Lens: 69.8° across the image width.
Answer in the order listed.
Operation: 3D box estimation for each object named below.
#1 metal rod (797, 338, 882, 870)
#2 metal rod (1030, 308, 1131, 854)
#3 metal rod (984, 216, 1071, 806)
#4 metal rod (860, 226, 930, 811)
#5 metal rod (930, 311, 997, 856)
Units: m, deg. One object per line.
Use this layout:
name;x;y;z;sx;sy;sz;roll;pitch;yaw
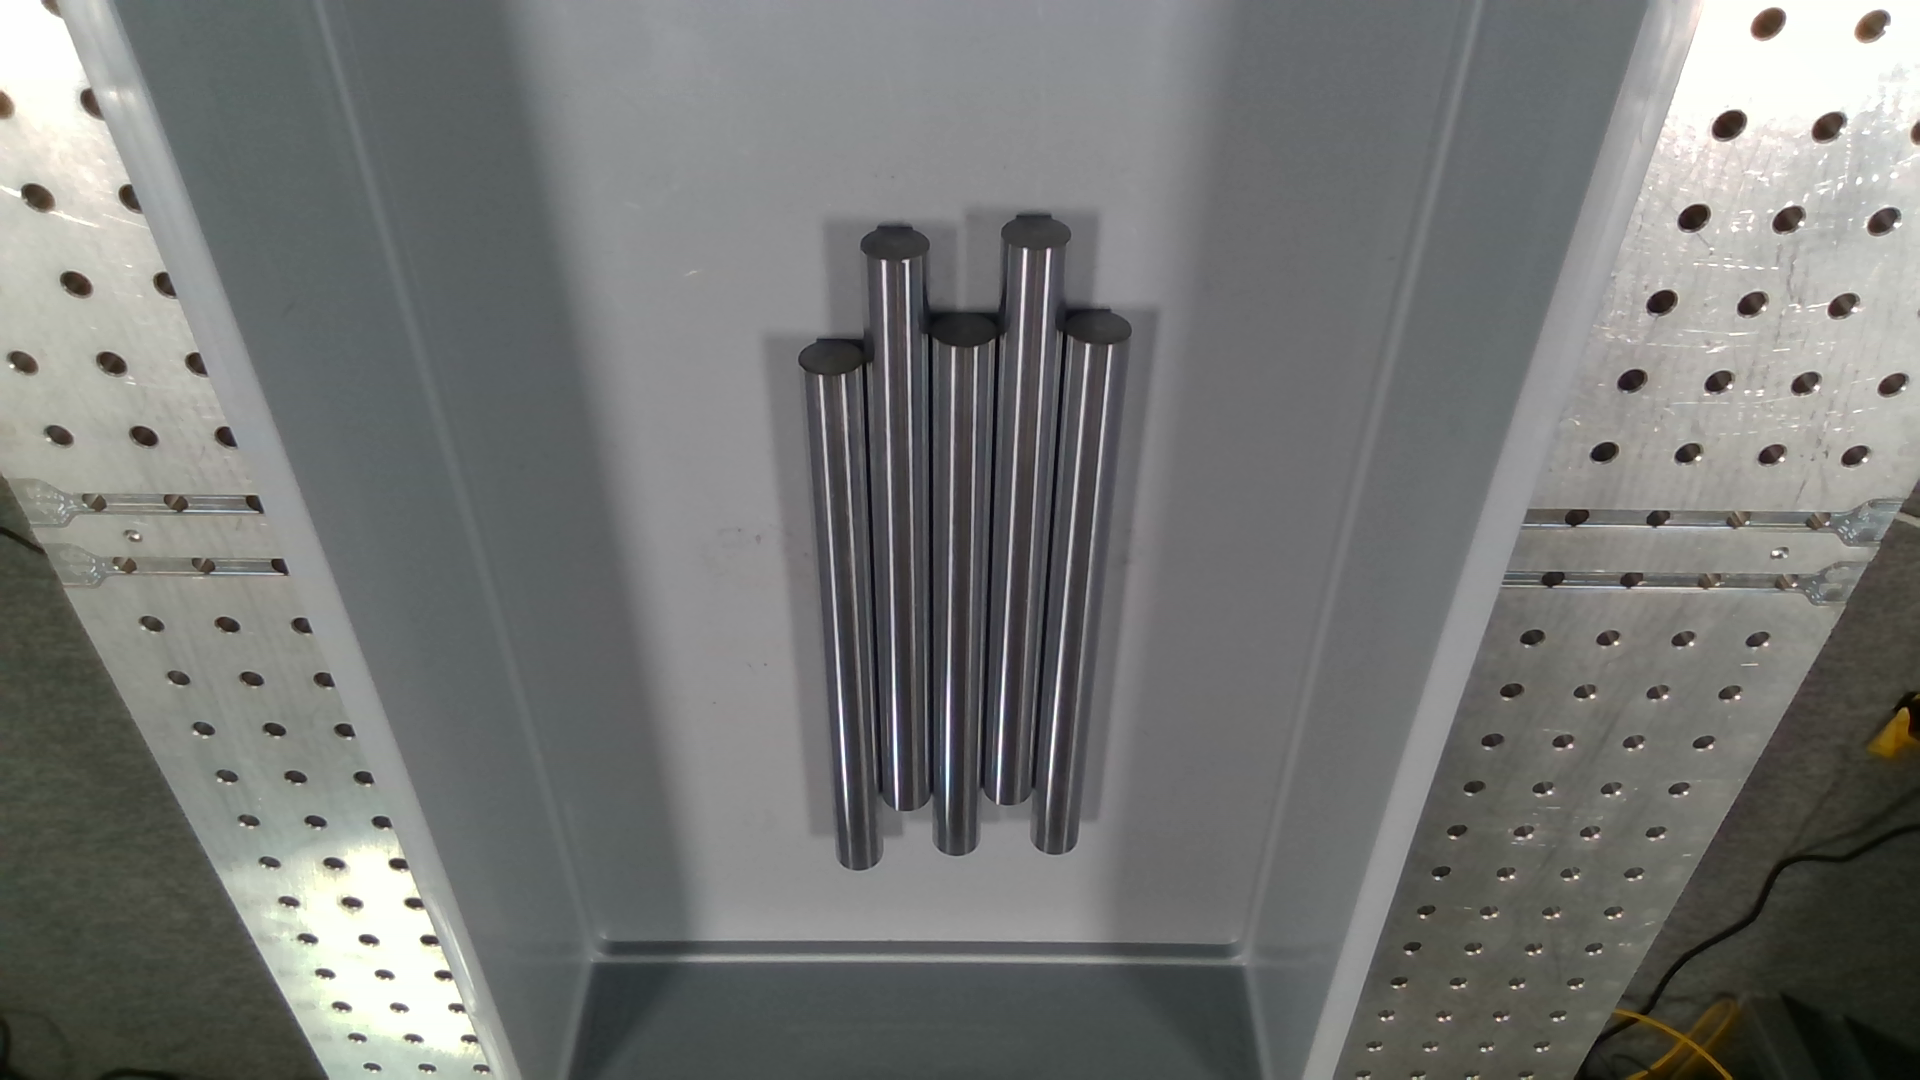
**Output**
metal rod;-0.051;0.045;0.616;0.025;0.025;0.301;1;130;0
metal rod;0.049;0.036;0.608;0.025;0.025;0.301;1;130;0
metal rod;0.025;0.006;0.583;0.025;0.025;0.301;1;130;0
metal rod;-0.025;0.009;0.586;0.025;0.025;0.301;1;130;0
metal rod;0.000;0.037;0.609;0.025;0.025;0.301;1;130;0
